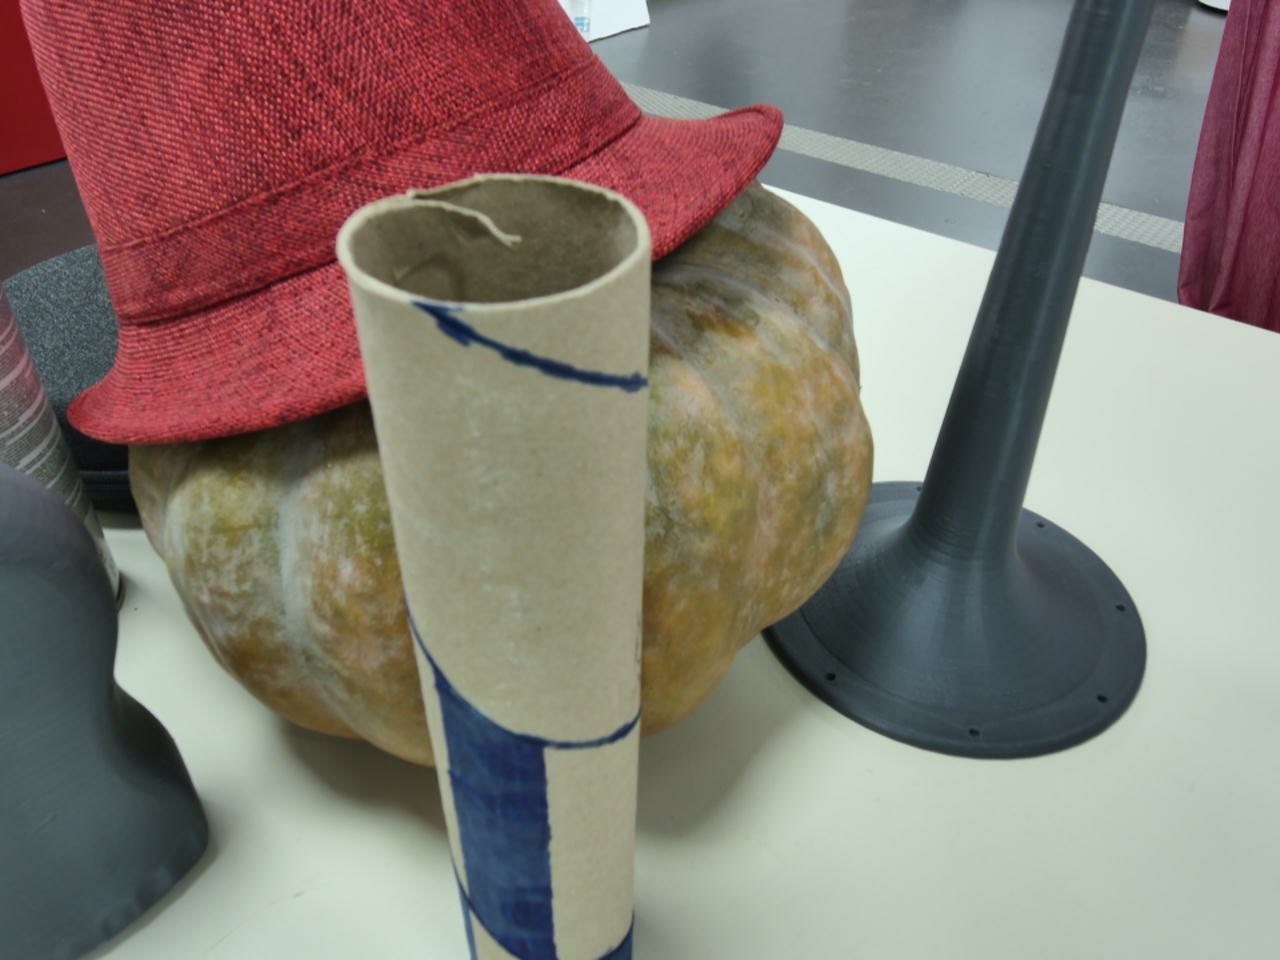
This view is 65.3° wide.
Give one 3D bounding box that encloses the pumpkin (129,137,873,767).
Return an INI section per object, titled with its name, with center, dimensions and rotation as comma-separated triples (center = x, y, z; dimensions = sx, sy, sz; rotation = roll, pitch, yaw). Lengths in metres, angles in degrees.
[pumpkin]
center = -0.045, -0.019, 0.349
dimensions = 0.252, 0.169, 0.251
rotation = 0, 36, 0
